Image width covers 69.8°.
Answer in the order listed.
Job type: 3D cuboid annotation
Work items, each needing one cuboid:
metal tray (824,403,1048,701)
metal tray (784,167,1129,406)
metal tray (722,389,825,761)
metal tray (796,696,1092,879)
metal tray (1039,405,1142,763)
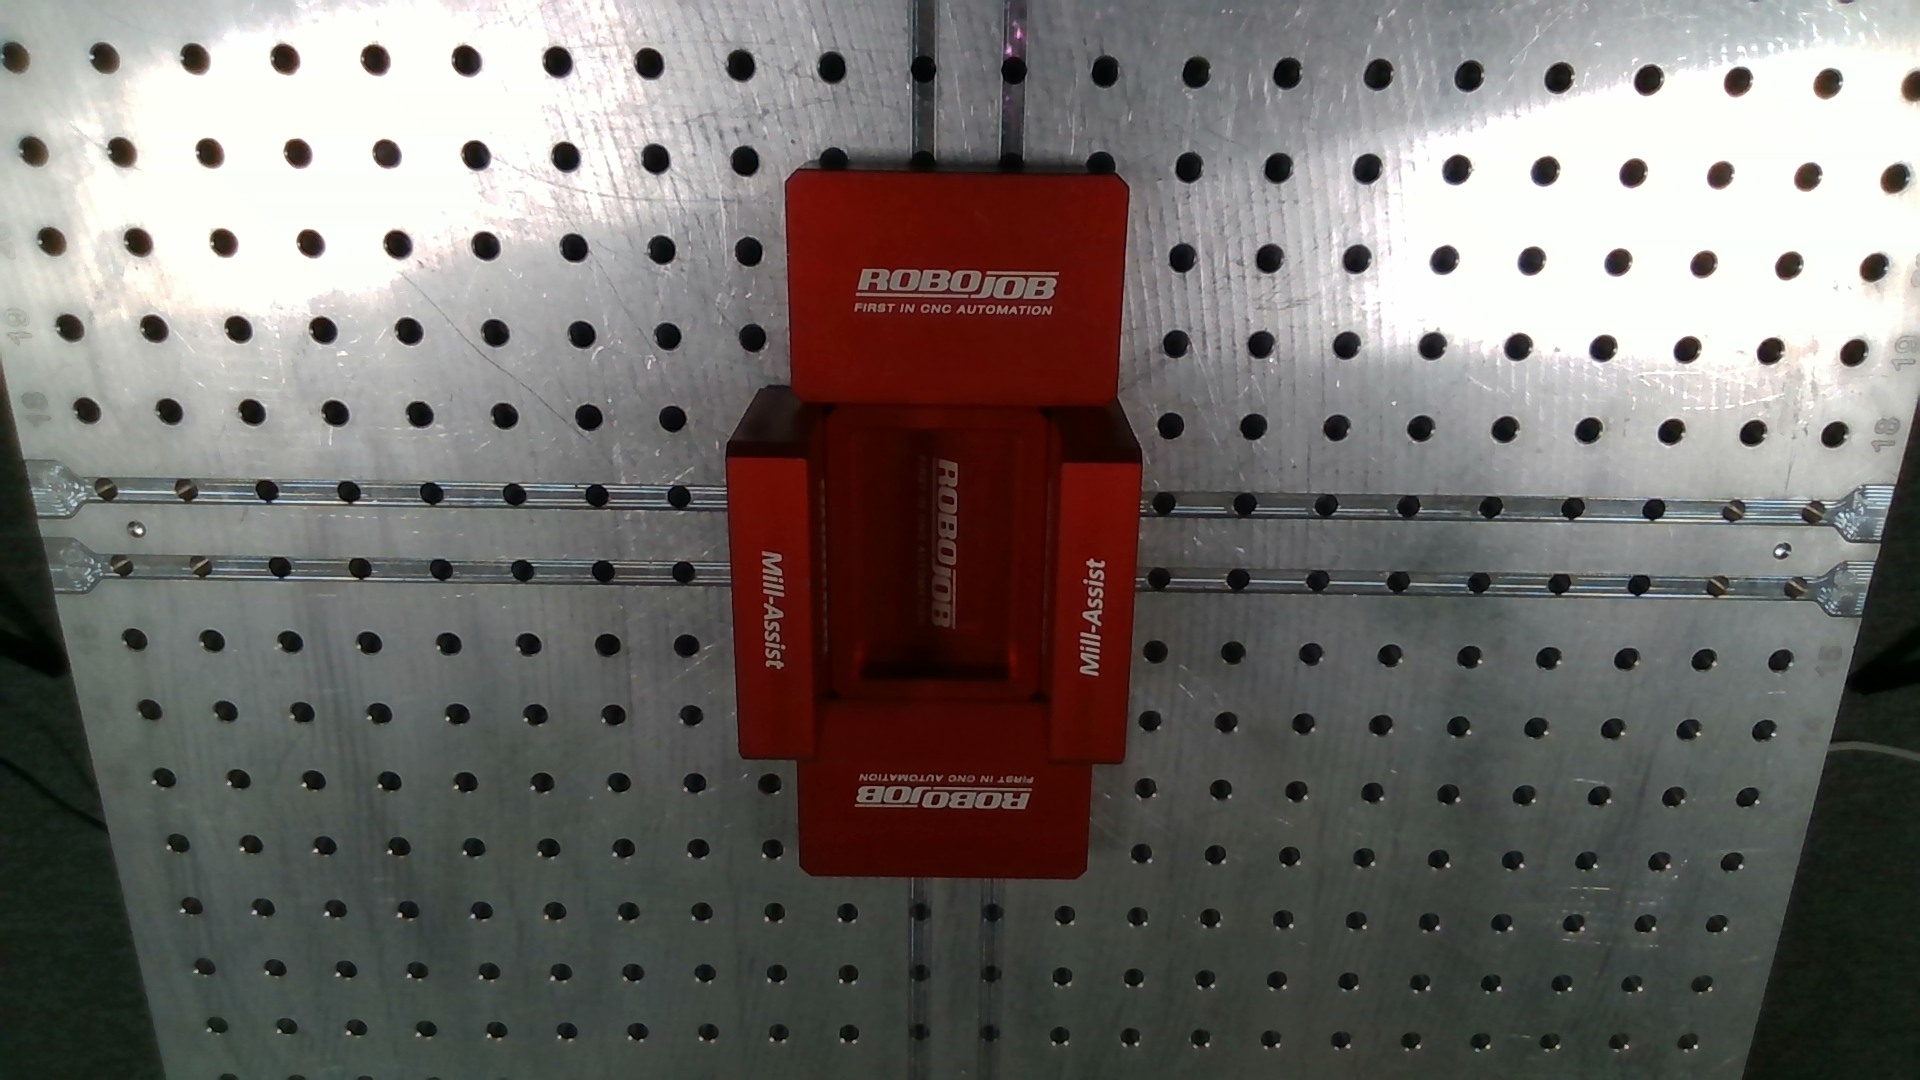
[{"bbox_3d":[-0.010,0.003,0.583,0.090,0.030,0.130,1,110,0],"label":"metal tray"},{"bbox_3d":[-0.002,-0.101,0.546,0.130,0.030,0.090,1,110,0],"label":"metal tray"},{"bbox_3d":[-0.071,0.012,0.555,0.030,0.090,0.130,1,110,0],"label":"metal tray"},{"bbox_3d":[-0.007,0.106,0.622,0.130,0.030,0.090,1,111,0],"label":"metal tray"},{"bbox_3d":[0.050,0.013,0.557,0.030,0.090,0.130,1,110,0],"label":"metal tray"}]
